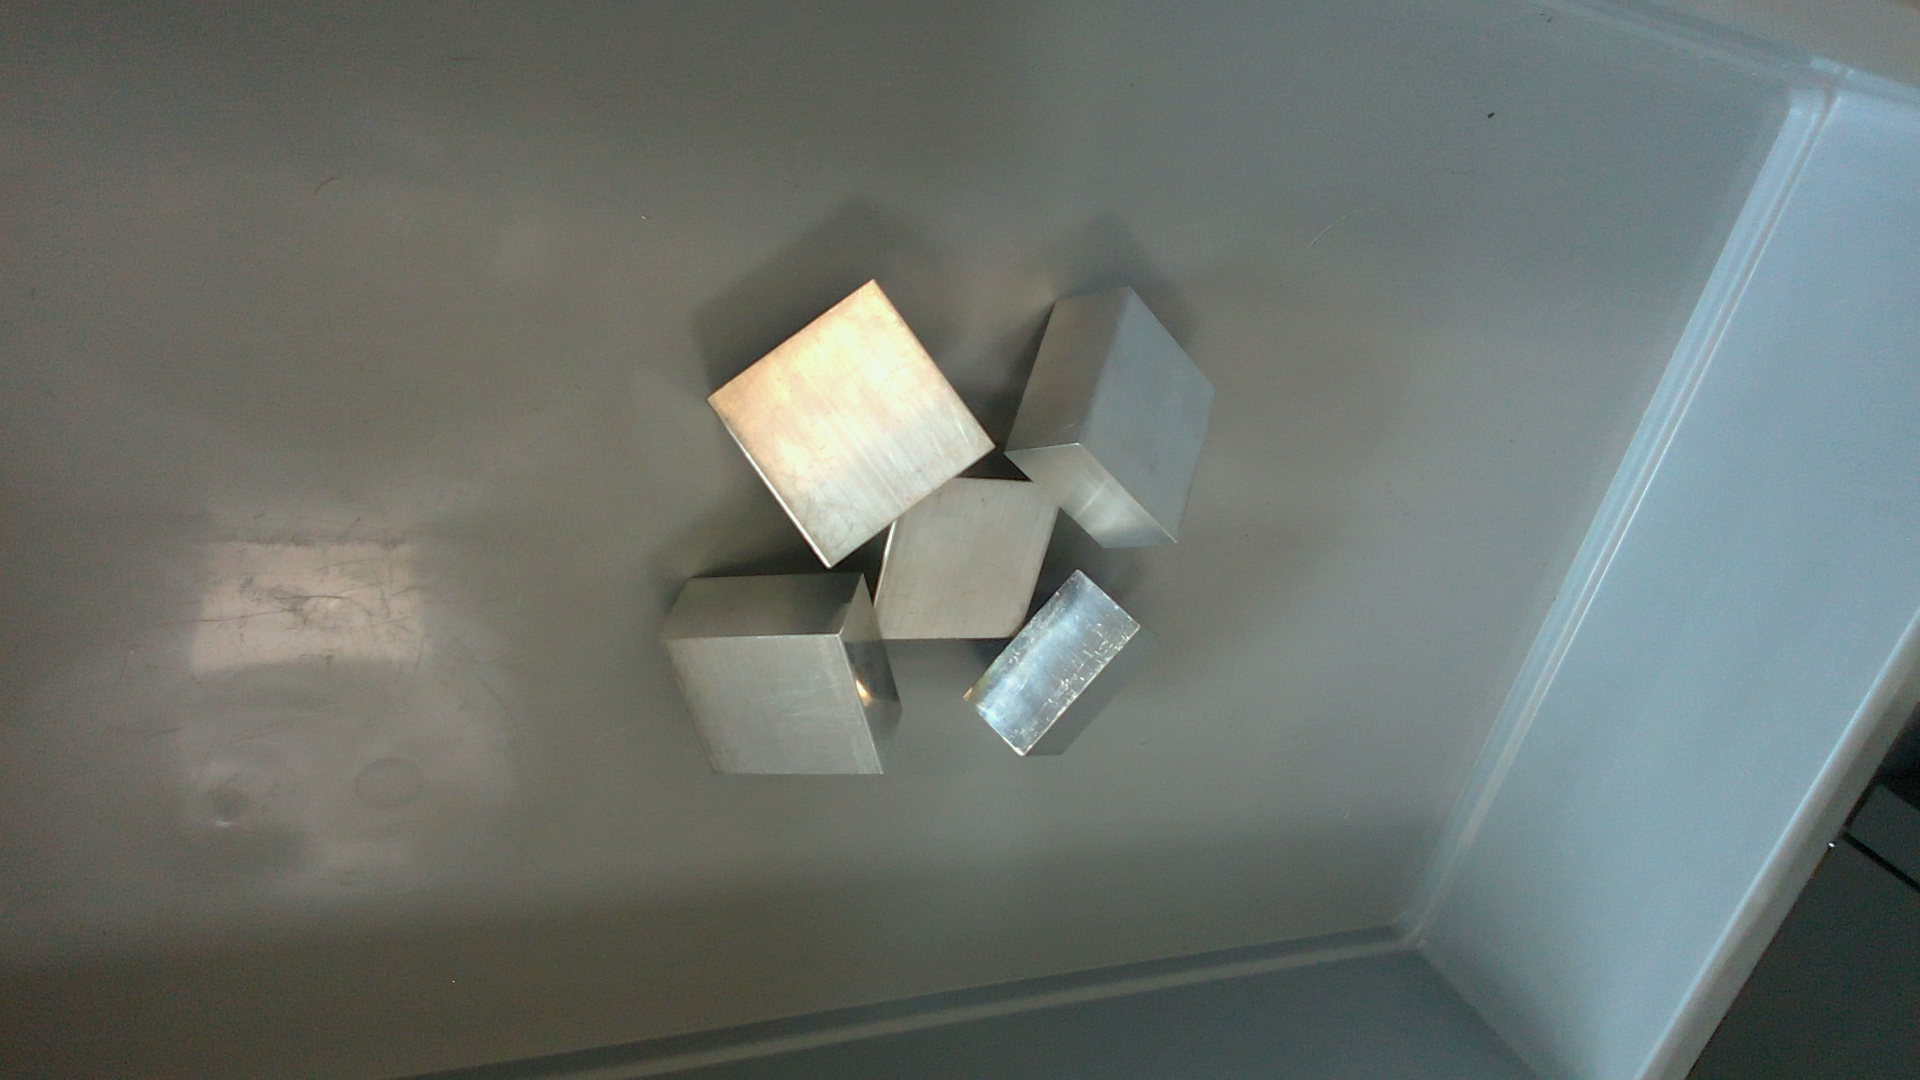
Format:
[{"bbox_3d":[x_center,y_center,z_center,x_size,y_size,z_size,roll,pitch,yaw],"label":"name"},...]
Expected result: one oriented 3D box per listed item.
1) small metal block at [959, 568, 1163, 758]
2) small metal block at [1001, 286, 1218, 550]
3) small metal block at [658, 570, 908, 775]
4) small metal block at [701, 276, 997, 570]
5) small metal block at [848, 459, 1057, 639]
[{"bbox_3d":[0.032,0.038,0.413,0.050,0.025,0.050,-48,163,5],"label":"small metal block"},{"bbox_3d":[0.042,-0.032,0.375,0.050,0.025,0.050,40,58,-39],"label":"small metal block"},{"bbox_3d":[-0.046,0.036,0.369,0.050,0.025,0.050,-1,128,16],"label":"small metal block"},{"bbox_3d":[-0.027,-0.028,0.339,0.050,0.025,0.050,-36,92,-3],"label":"small metal block"},{"bbox_3d":[-0.003,0.000,0.384,0.050,0.025,0.050,1,118,-29],"label":"small metal block"}]
